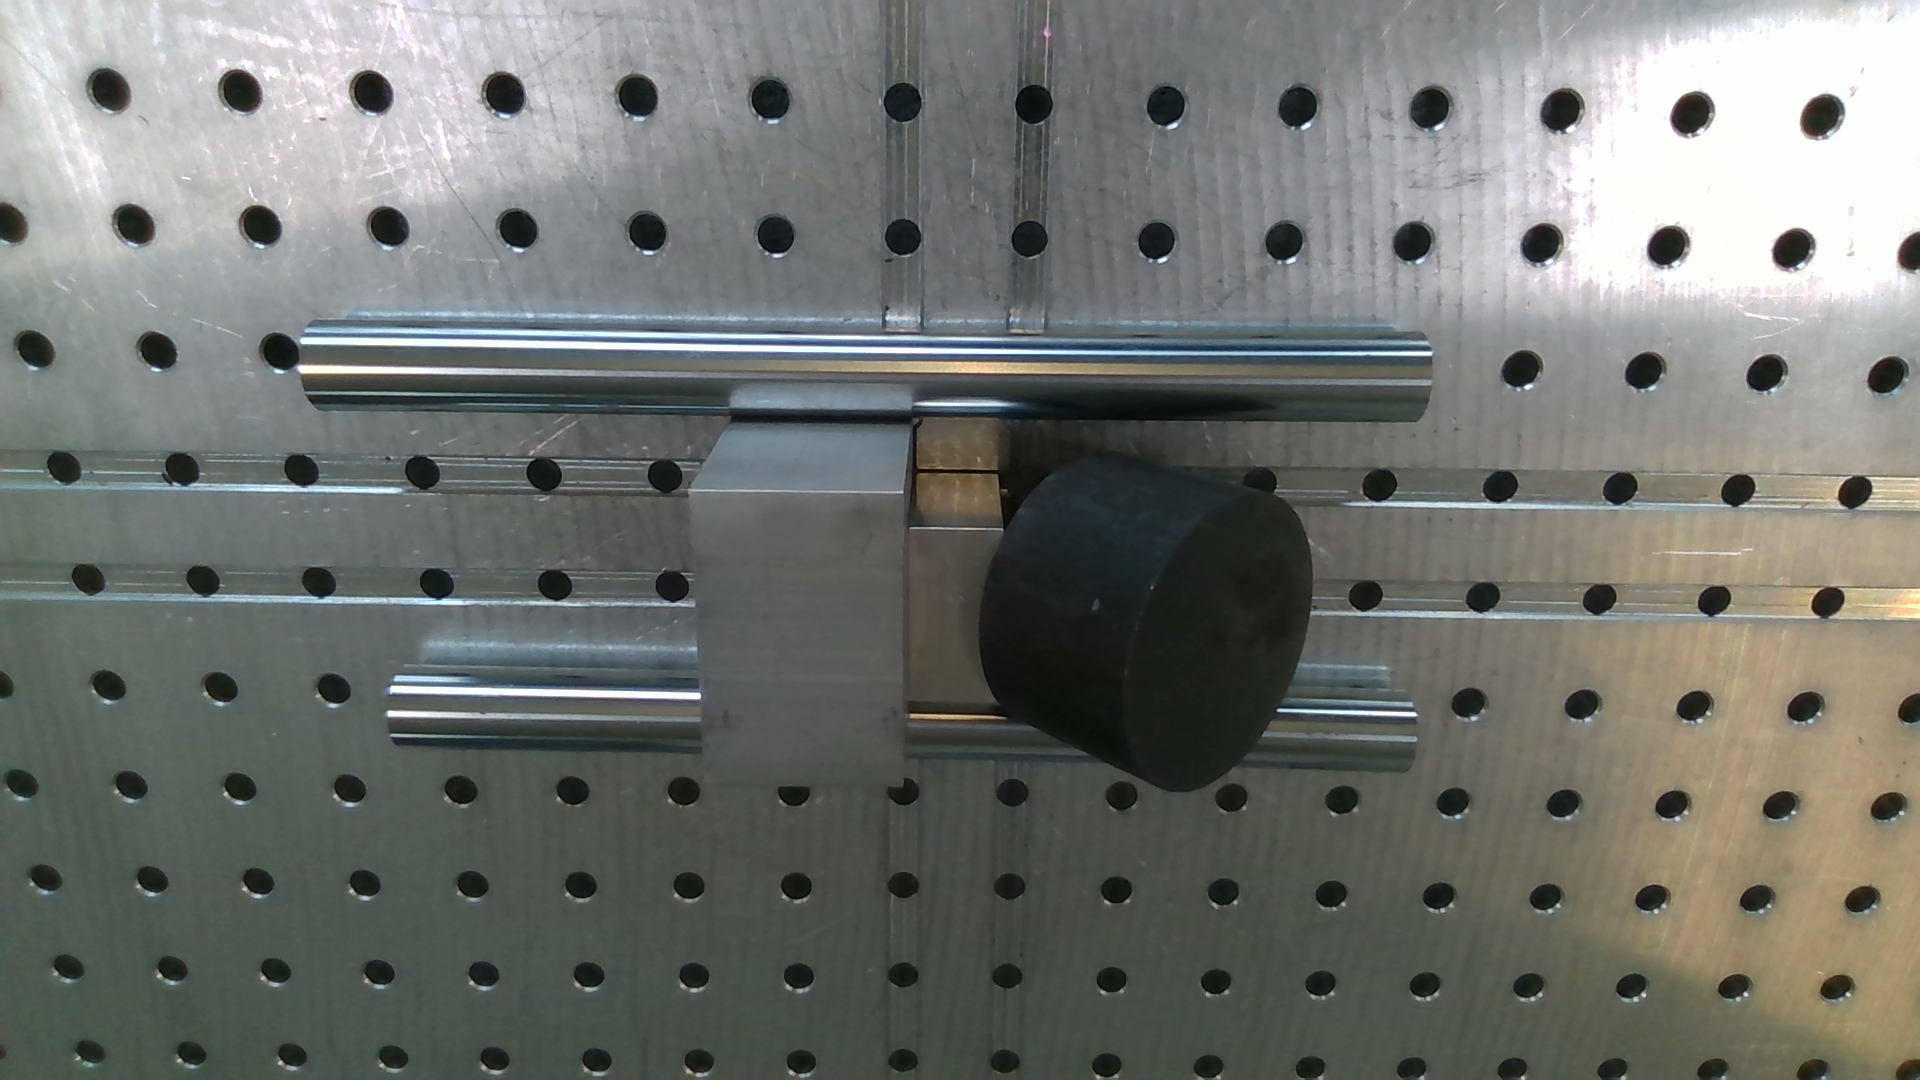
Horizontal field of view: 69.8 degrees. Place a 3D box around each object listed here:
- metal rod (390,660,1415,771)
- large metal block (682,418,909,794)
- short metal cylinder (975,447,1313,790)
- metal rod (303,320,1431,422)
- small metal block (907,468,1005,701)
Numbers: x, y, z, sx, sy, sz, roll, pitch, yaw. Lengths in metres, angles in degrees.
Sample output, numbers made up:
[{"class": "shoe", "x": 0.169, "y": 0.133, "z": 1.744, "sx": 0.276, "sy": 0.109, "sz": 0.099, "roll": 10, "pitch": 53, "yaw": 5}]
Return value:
[{"class": "metal rod", "x": -0.016, "y": 0.053, "z": 0.415, "sx": 0.300, "sy": 0.025, "sz": 0.025, "roll": 2, "pitch": 110, "yaw": -1}, {"class": "large metal block", "x": -0.040, "y": 0.012, "z": 0.369, "sx": 0.050, "sy": 0.080, "sz": 0.080, "roll": 1, "pitch": 110, "yaw": 0}, {"class": "short metal cylinder", "x": 0.050, "y": 0.020, "z": 0.367, "sx": 0.080, "sy": 0.050, "sz": 0.080, "roll": -19, "pitch": 118, "yaw": -41}, {"class": "metal rod", "x": -0.025, "y": -0.046, "z": 0.379, "sx": 0.300, "sy": 0.025, "sz": 0.025, "roll": 1, "pitch": 110, "yaw": 0}, {"class": "small metal block", "x": -0.002, "y": 0.011, "z": 0.387, "sx": 0.025, "sy": 0.050, "sz": 0.050, "roll": 1, "pitch": 110, "yaw": 0}]
